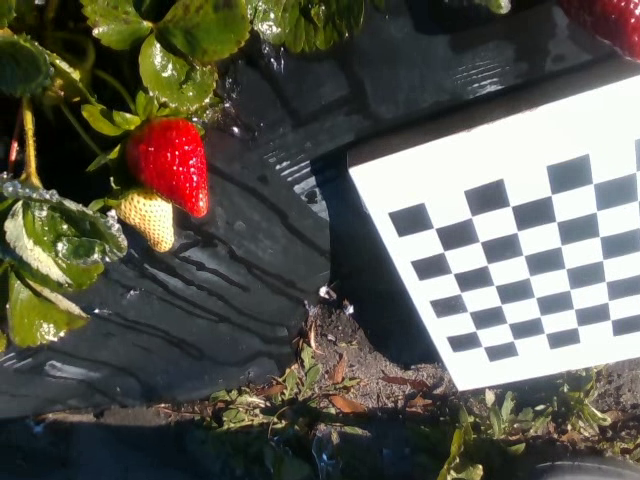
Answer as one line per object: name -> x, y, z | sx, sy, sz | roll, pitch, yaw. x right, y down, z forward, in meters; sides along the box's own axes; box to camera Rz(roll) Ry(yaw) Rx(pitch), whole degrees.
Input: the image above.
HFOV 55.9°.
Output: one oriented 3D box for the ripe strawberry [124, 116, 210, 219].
ripe strawberry -> -0.076, -0.037, 0.330 | 0.043, 0.061, 0.046 | -27, -2, 26
